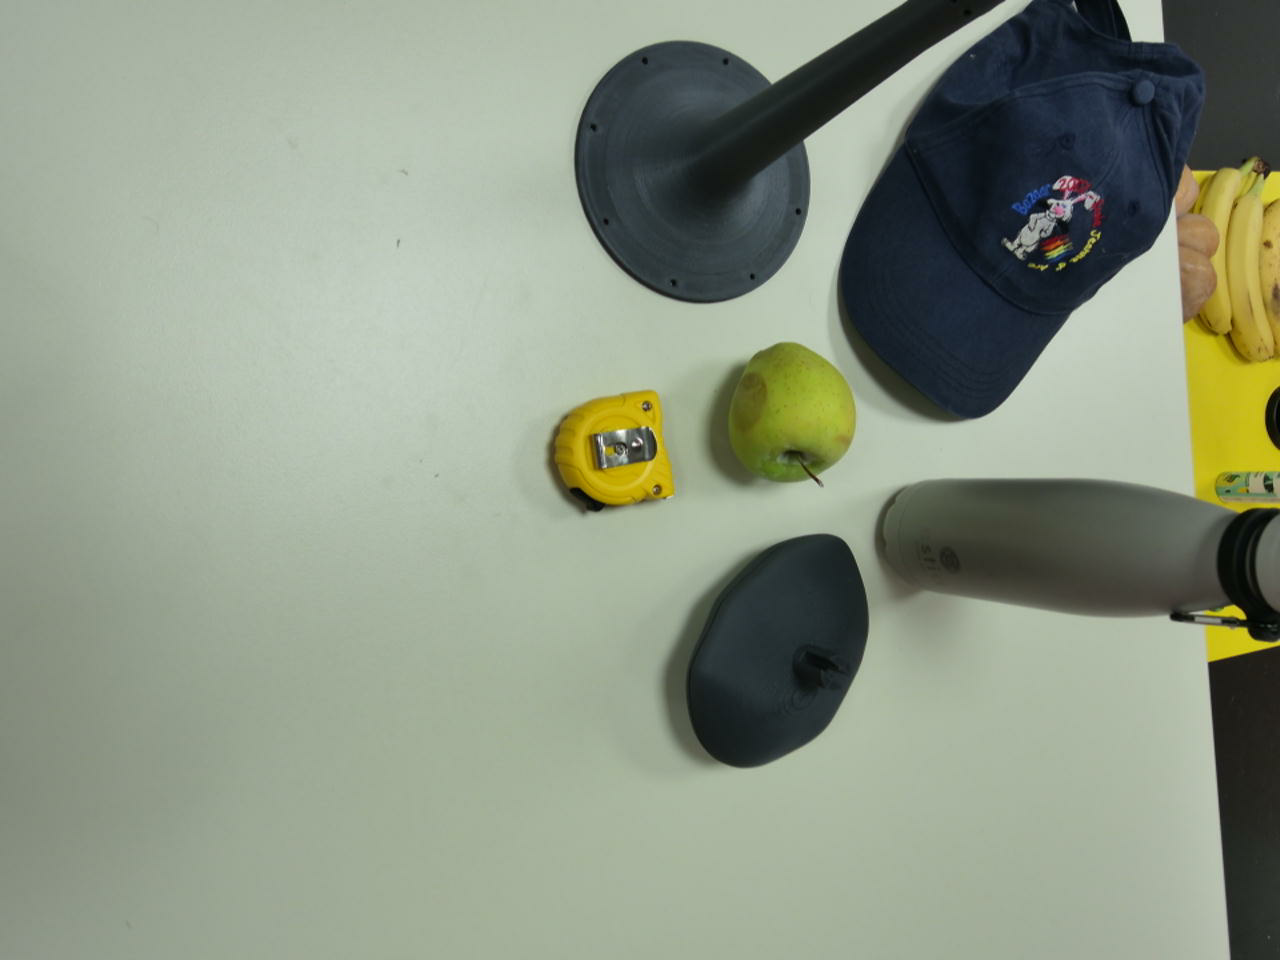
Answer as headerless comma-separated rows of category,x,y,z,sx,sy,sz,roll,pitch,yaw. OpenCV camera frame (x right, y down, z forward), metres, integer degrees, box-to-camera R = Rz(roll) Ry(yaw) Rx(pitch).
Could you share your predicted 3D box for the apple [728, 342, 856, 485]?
apple,0.086,-0.037,0.565,0.072,0.075,0.077,42,76,-17
